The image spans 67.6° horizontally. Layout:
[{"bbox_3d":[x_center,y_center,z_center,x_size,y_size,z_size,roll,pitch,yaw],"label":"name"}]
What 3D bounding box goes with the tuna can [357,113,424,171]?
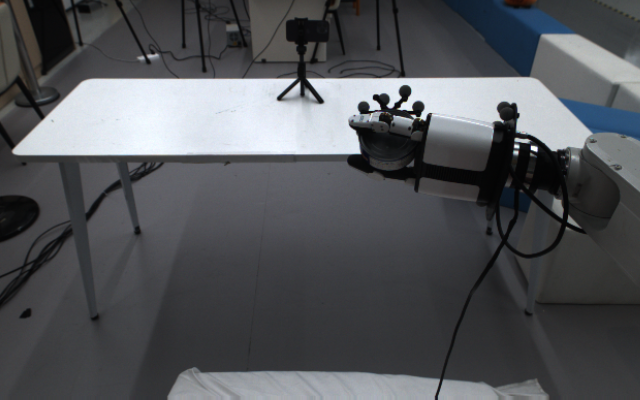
[{"bbox_3d":[0.099,-0.081,0.683,0.085,0.034,0.085,-3,62,6],"label":"tuna can"}]
